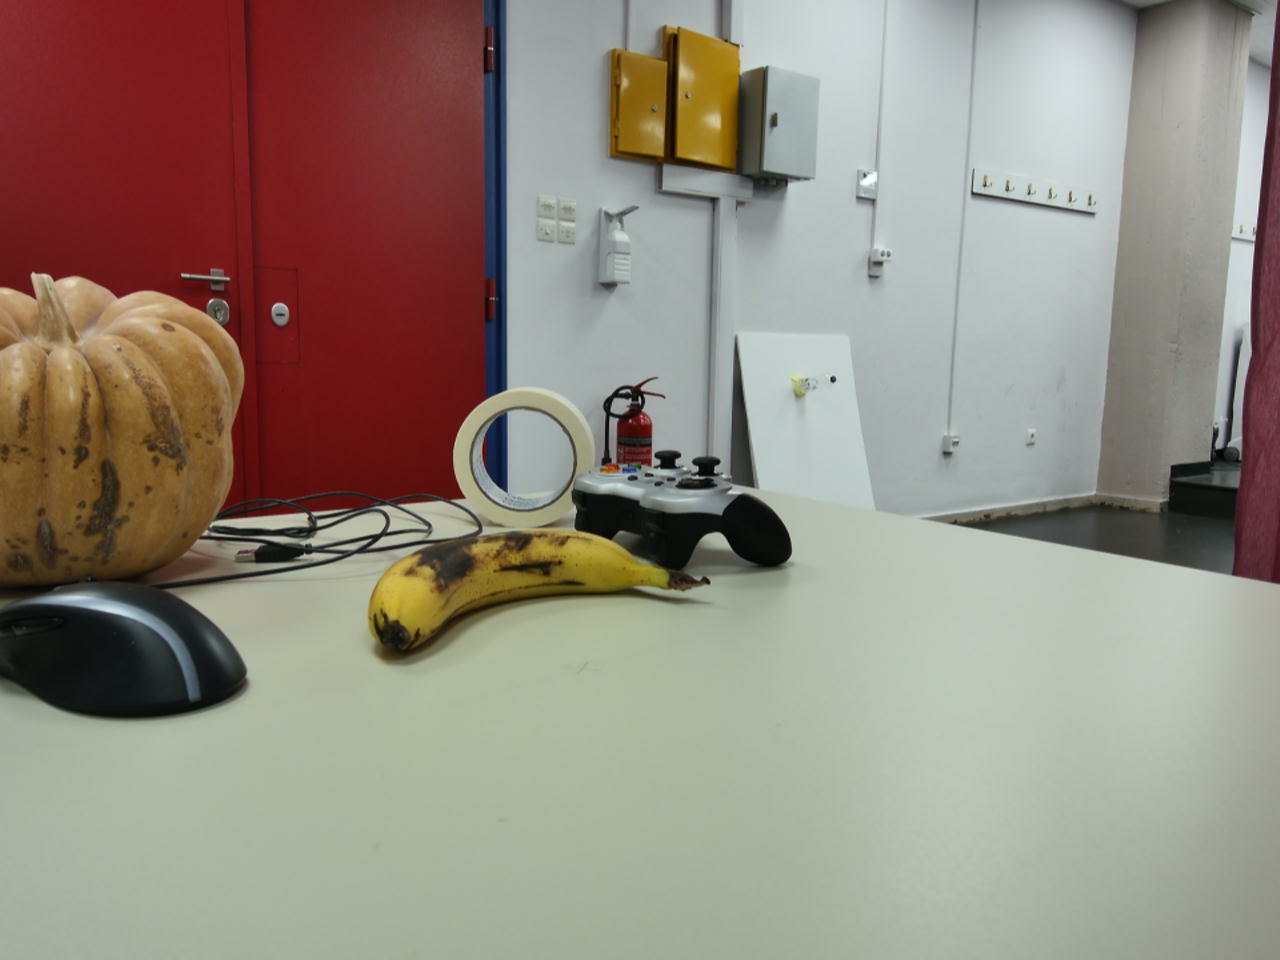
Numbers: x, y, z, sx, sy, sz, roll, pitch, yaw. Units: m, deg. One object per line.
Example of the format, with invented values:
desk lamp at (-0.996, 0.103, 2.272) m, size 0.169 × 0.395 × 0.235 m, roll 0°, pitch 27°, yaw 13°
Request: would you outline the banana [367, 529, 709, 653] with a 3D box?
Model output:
banana at (-0.065, 0.052, 0.524) m, size 0.187 × 0.039 × 0.094 m, roll -5°, pitch 8°, yaw -39°
